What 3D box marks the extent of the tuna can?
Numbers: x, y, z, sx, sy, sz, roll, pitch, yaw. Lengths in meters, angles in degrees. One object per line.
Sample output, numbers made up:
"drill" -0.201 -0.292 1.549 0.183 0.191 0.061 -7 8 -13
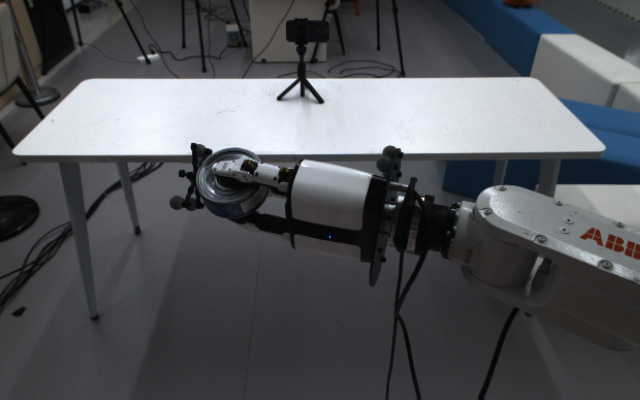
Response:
"tuna can" -0.105 -0.023 0.594 0.085 0.034 0.085 -2 58 3
